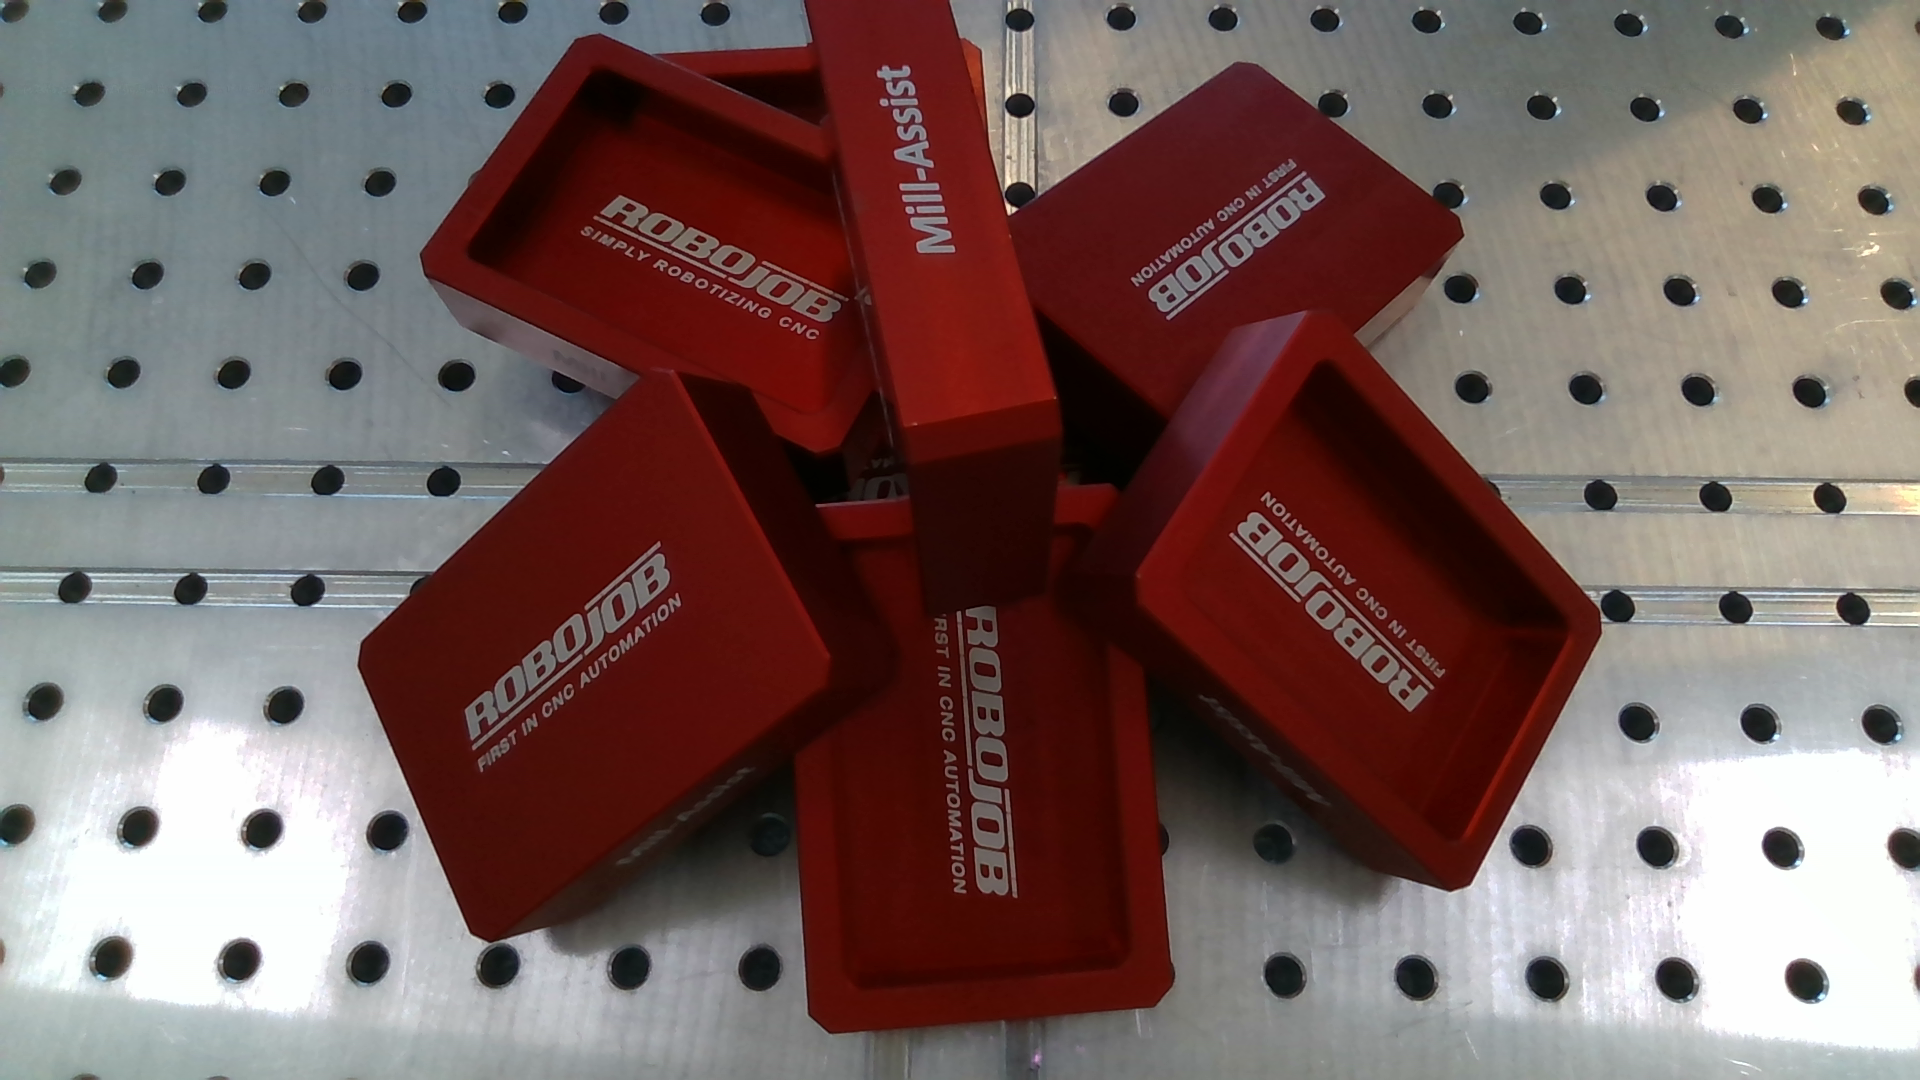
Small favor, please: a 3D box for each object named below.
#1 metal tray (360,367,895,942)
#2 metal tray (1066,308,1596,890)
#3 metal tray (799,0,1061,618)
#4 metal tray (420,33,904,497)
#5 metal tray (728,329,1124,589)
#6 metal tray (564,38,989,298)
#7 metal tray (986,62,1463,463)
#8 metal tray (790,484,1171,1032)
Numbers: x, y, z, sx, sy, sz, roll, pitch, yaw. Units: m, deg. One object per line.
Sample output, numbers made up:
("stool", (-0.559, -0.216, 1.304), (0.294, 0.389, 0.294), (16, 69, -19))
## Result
("metal tray", (-0.089, 0.030, 0.349), (0.130, 0.030, 0.090), (-38, 71, 22))
("metal tray", (0.099, 0.017, 0.354), (0.130, 0.030, 0.090), (42, 72, -21))
("metal tray", (-0.009, -0.059, 0.316), (0.030, 0.090, 0.130), (-11, 66, -4))
("metal tray", (-0.071, -0.080, 0.391), (0.130, 0.030, 0.090), (25, 72, 9))
("metal tray", (-0.002, -0.019, 0.402), (0.130, 0.030, 0.090), (-4, 72, -4))
("metal tray", (-0.055, -0.109, 0.434), (0.130, 0.030, 0.090), (-4, 71, -2))
("metal tray", (0.076, -0.081, 0.406), (0.090, 0.030, 0.130), (43, 60, 14))
("metal tray", (0.003, 0.054, 0.357), (0.090, 0.030, 0.130), (-4, 88, -1))
